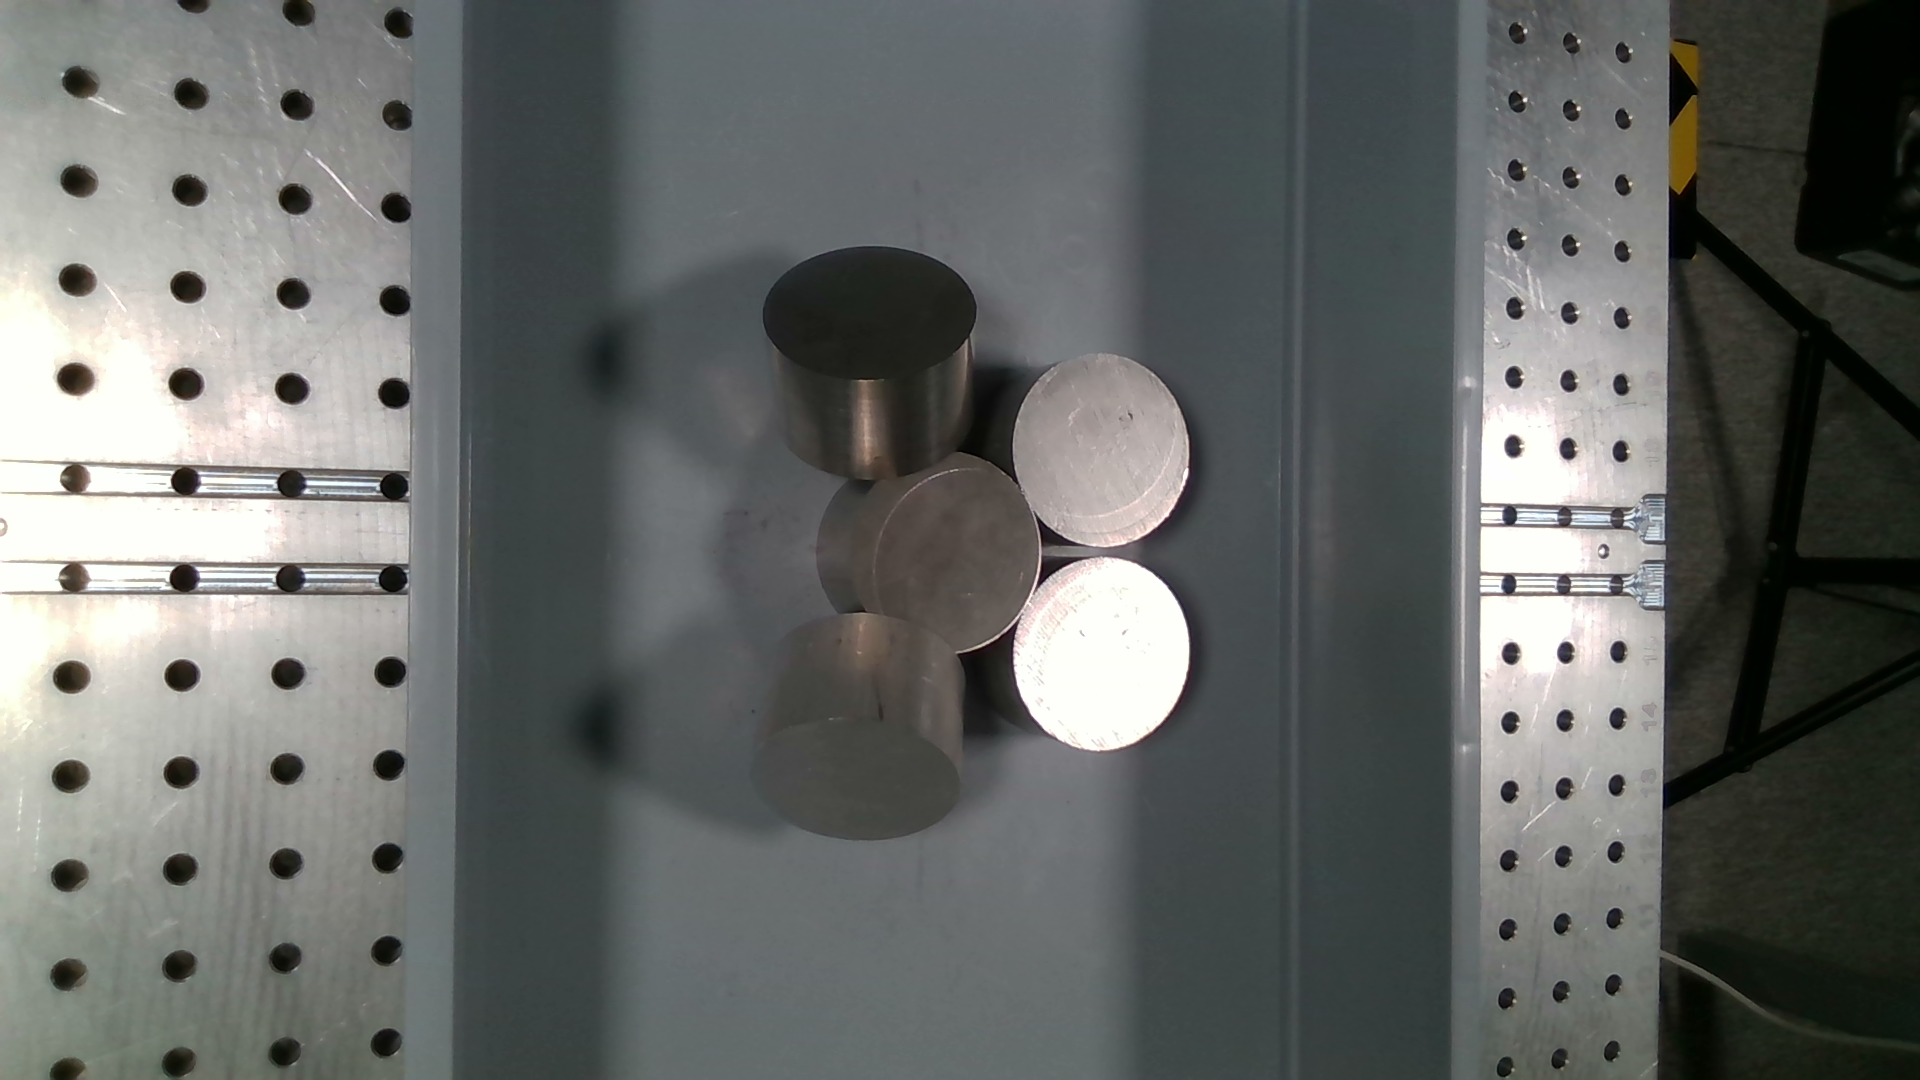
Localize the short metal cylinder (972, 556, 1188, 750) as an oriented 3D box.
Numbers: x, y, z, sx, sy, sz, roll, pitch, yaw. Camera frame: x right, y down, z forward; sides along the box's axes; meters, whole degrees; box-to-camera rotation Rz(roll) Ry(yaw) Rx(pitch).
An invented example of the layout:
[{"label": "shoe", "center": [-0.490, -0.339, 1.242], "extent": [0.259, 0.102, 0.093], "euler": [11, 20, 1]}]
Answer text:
[{"label": "short metal cylinder", "center": [0.050, 0.047, 0.590], "extent": [0.080, 0.050, 0.080], "euler": [0, 90, -20]}]

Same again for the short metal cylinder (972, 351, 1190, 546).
[{"label": "short metal cylinder", "center": [0.051, -0.038, 0.589], "extent": [0.080, 0.050, 0.080], "euler": [0, 90, -20]}]

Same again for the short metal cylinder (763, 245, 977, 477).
[{"label": "short metal cylinder", "center": [-0.034, -0.070, 0.537], "extent": [0.080, 0.080, 0.050], "euler": [-21, 141, -19]}]

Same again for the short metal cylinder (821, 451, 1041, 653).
[{"label": "short metal cylinder", "center": [-0.013, 0.005, 0.565], "extent": [0.080, 0.050, 0.080], "euler": [0, 90, -20]}]

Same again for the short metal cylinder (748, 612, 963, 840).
[{"label": "short metal cylinder", "center": [-0.039, 0.073, 0.535], "extent": [0.080, 0.080, 0.050], "euler": [22, 43, -19]}]
